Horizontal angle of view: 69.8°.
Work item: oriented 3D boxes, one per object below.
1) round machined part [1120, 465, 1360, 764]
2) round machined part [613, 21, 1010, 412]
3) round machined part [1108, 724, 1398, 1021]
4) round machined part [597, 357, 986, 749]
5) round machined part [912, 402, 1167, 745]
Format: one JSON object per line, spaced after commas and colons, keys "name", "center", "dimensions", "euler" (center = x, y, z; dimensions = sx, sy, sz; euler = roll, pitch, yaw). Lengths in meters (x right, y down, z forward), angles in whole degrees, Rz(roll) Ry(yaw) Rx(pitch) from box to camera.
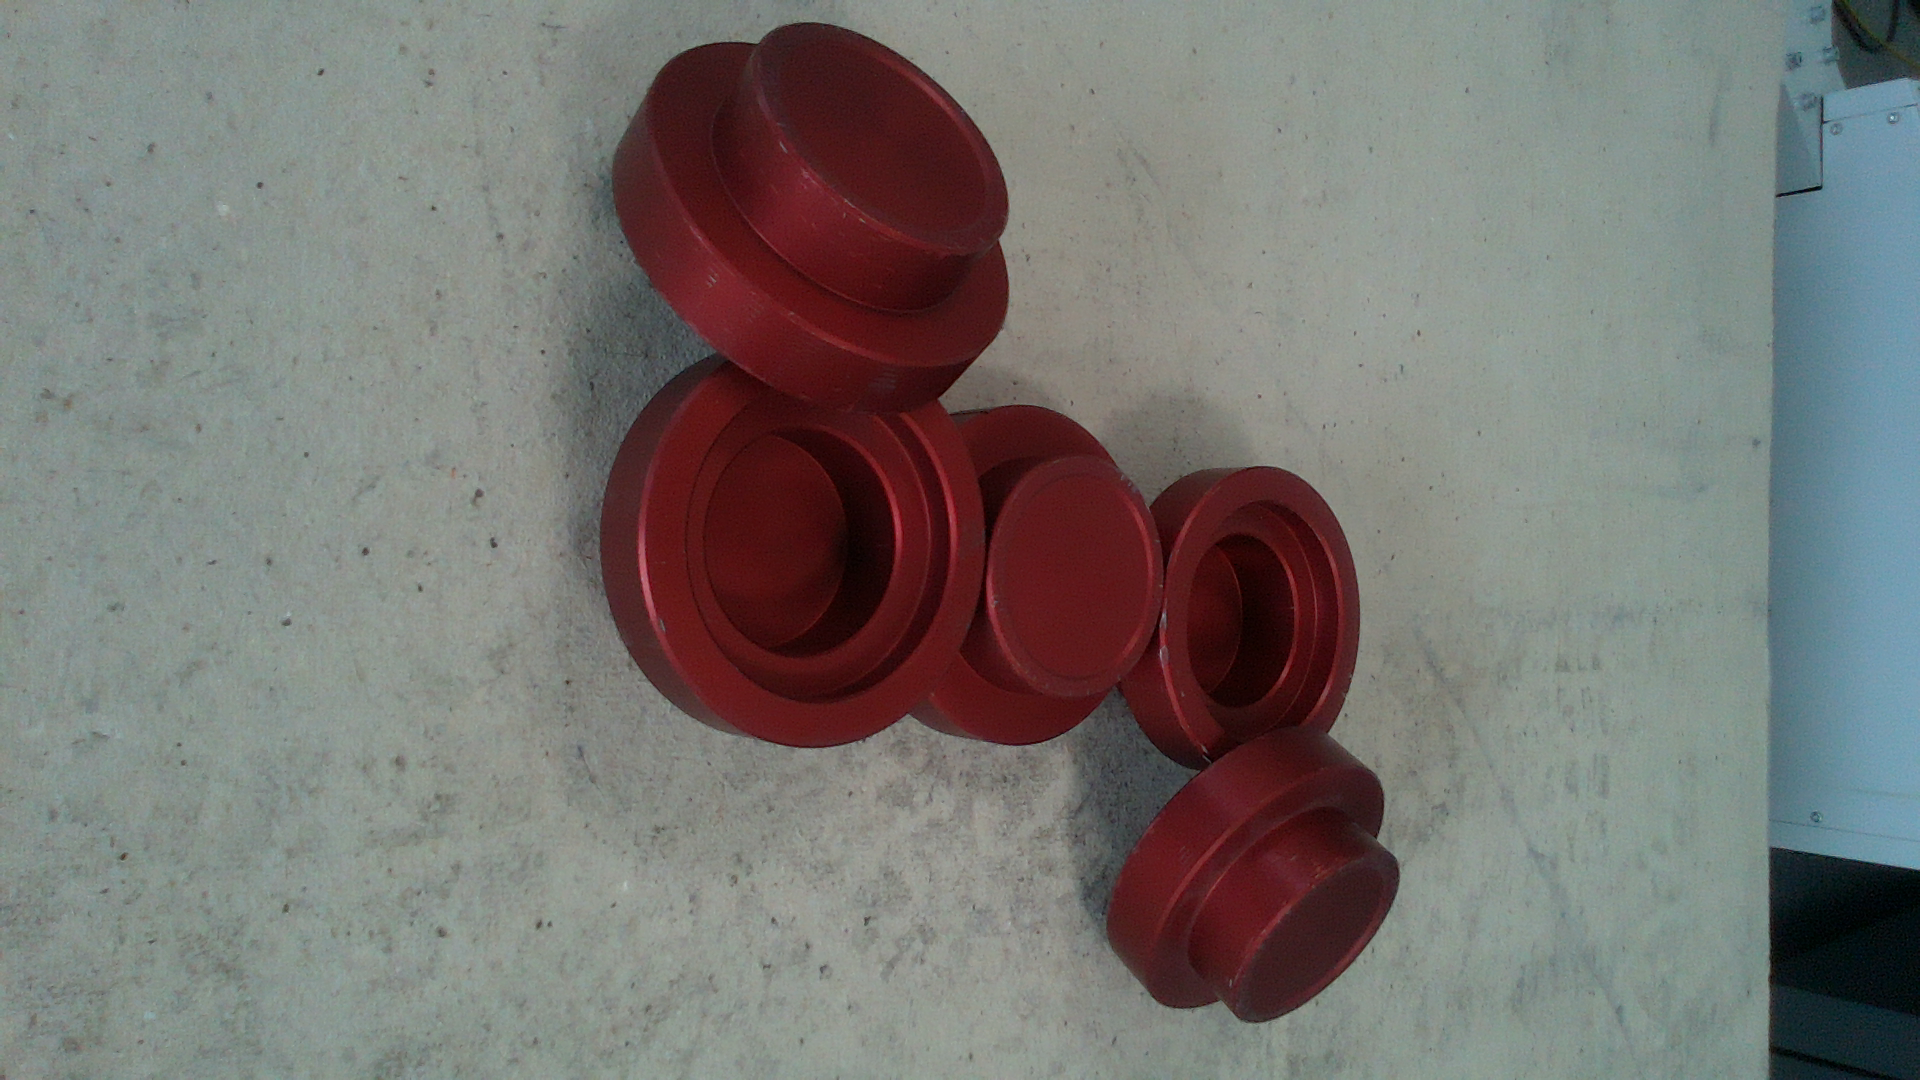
{"name": "round machined part", "center": [0.084, 0.025, 0.447], "dimensions": [0.098, 0.042, 0.098], "euler": [0, 91, -39]}
{"name": "round machined part", "center": [-0.028, -0.082, 0.326], "dimensions": [0.098, 0.042, 0.098], "euler": [23, 46, -26]}
{"name": "round machined part", "center": [0.097, 0.109, 0.430], "dimensions": [0.098, 0.042, 0.098], "euler": [-21, 131, -27]}
{"name": "round machined part", "center": [-0.044, 0.000, 0.341], "dimensions": [0.098, 0.042, 0.098], "euler": [0, 91, -39]}
{"name": "round machined part", "center": [0.021, 0.009, 0.394], "dimensions": [0.098, 0.042, 0.098], "euler": [2, 86, -38]}
